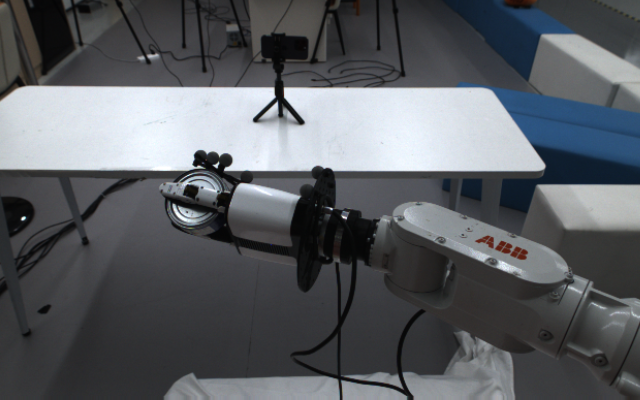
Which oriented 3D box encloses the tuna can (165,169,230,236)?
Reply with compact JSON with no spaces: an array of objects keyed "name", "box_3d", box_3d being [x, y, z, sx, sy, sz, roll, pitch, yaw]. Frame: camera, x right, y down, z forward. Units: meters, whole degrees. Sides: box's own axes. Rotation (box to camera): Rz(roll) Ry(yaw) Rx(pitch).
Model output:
[{"name":"tuna can","box_3d":[-0.159,0.003,0.647,0.085,0.034,0.085,-4,67,10]}]
